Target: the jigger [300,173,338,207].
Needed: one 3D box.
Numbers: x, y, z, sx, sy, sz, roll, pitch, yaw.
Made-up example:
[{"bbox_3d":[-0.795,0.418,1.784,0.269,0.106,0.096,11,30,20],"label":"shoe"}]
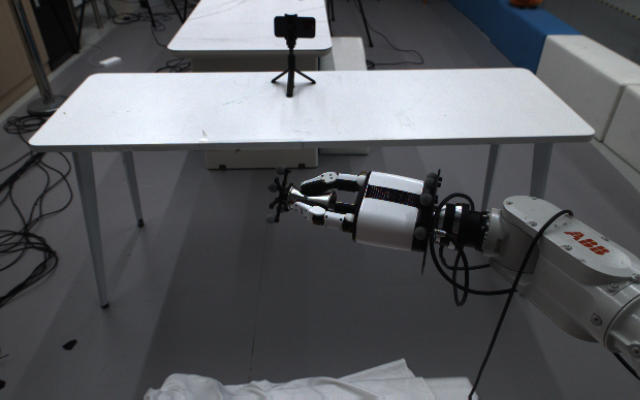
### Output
[{"bbox_3d":[-0.007,-0.002,0.761,0.071,0.043,0.043,11,36,15],"label":"jigger"}]
